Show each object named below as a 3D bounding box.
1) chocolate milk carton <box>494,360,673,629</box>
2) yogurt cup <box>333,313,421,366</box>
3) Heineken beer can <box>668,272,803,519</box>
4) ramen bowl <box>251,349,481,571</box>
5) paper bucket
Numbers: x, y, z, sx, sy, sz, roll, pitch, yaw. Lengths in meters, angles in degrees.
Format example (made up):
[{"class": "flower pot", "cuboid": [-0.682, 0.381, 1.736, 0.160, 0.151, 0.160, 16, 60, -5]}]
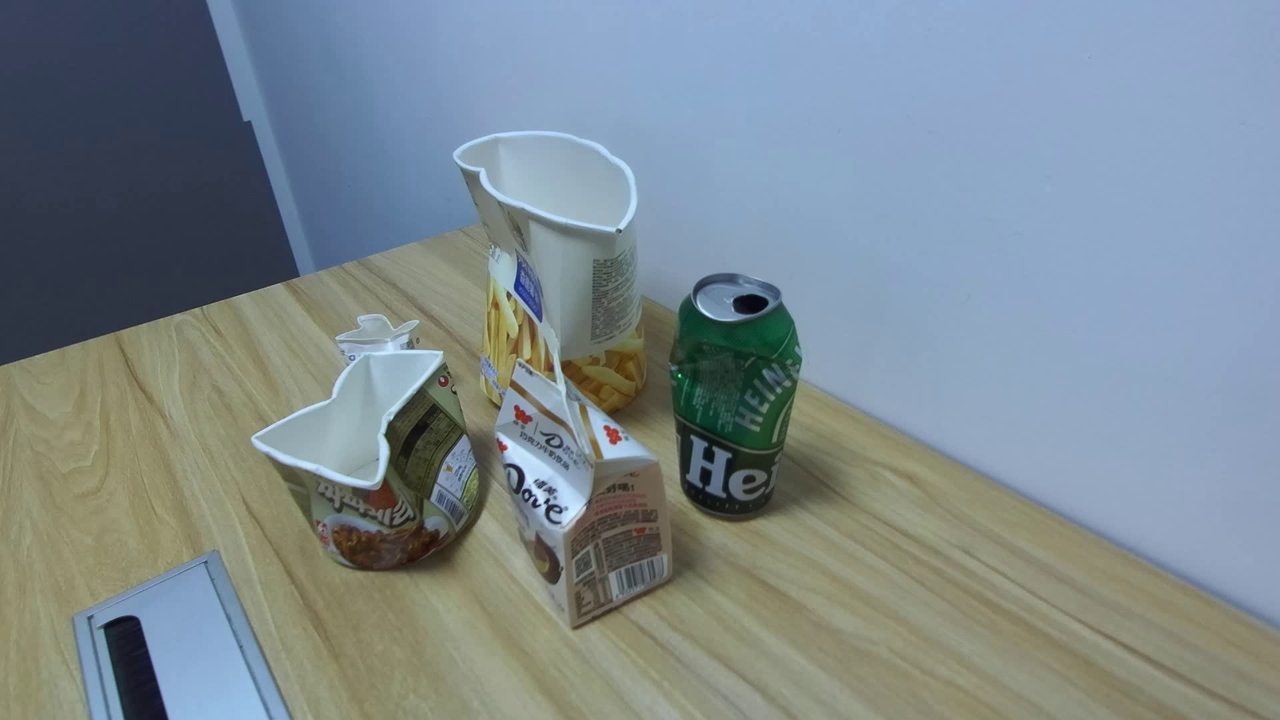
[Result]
[{"class": "chocolate milk carton", "cuboid": [-0.033, 0.069, 0.411, 0.074, 0.156, 0.076, -21, 38, -22]}, {"class": "yogurt cup", "cuboid": [-0.219, 0.001, 0.613, 0.054, 0.072, 0.055, 9, 37, 18]}, {"class": "Heineken beer can", "cuboid": [0.058, 0.026, 0.462, 0.066, 0.164, 0.077, -8, 35, -8]}, {"class": "ramen bowl", "cuboid": [-0.169, 0.065, 0.481, 0.111, 0.093, 0.128, 11, 35, 18]}, {"class": "paper bucket", "cuboid": [-0.069, -0.065, 0.576, 0.217, 0.199, 0.148, 16, 37, 27]}]
